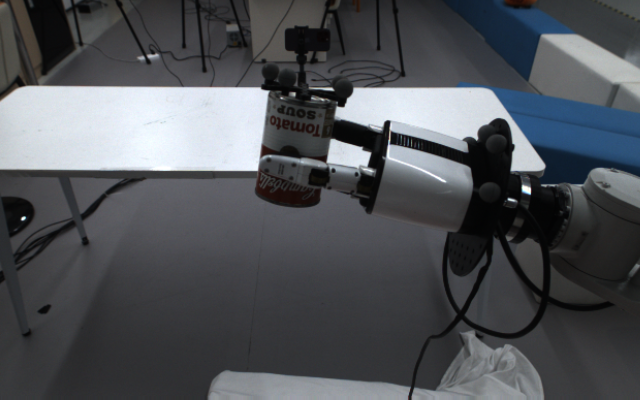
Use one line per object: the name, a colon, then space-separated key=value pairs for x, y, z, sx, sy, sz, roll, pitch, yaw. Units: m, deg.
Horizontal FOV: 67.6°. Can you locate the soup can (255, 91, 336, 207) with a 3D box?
soup can: x=-0.023 y=-0.053 z=0.478 sx=0.067 sy=0.101 sz=0.067 roll=9 pitch=20 yaw=-3
